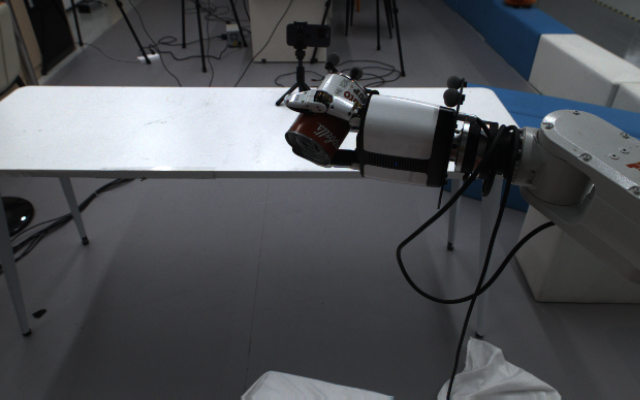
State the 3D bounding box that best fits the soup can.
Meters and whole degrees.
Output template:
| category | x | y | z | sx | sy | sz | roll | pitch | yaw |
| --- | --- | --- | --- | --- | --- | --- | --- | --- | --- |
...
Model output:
| category | x | y | z | sx | sy | sz | roll | pitch | yaw |
| --- | --- | --- | --- | --- | --- | --- | --- | --- | --- |
| soup can | 0.011 | -0.105 | 0.622 | 0.067 | 0.067 | 0.101 | 24 | 73 | 28 |
